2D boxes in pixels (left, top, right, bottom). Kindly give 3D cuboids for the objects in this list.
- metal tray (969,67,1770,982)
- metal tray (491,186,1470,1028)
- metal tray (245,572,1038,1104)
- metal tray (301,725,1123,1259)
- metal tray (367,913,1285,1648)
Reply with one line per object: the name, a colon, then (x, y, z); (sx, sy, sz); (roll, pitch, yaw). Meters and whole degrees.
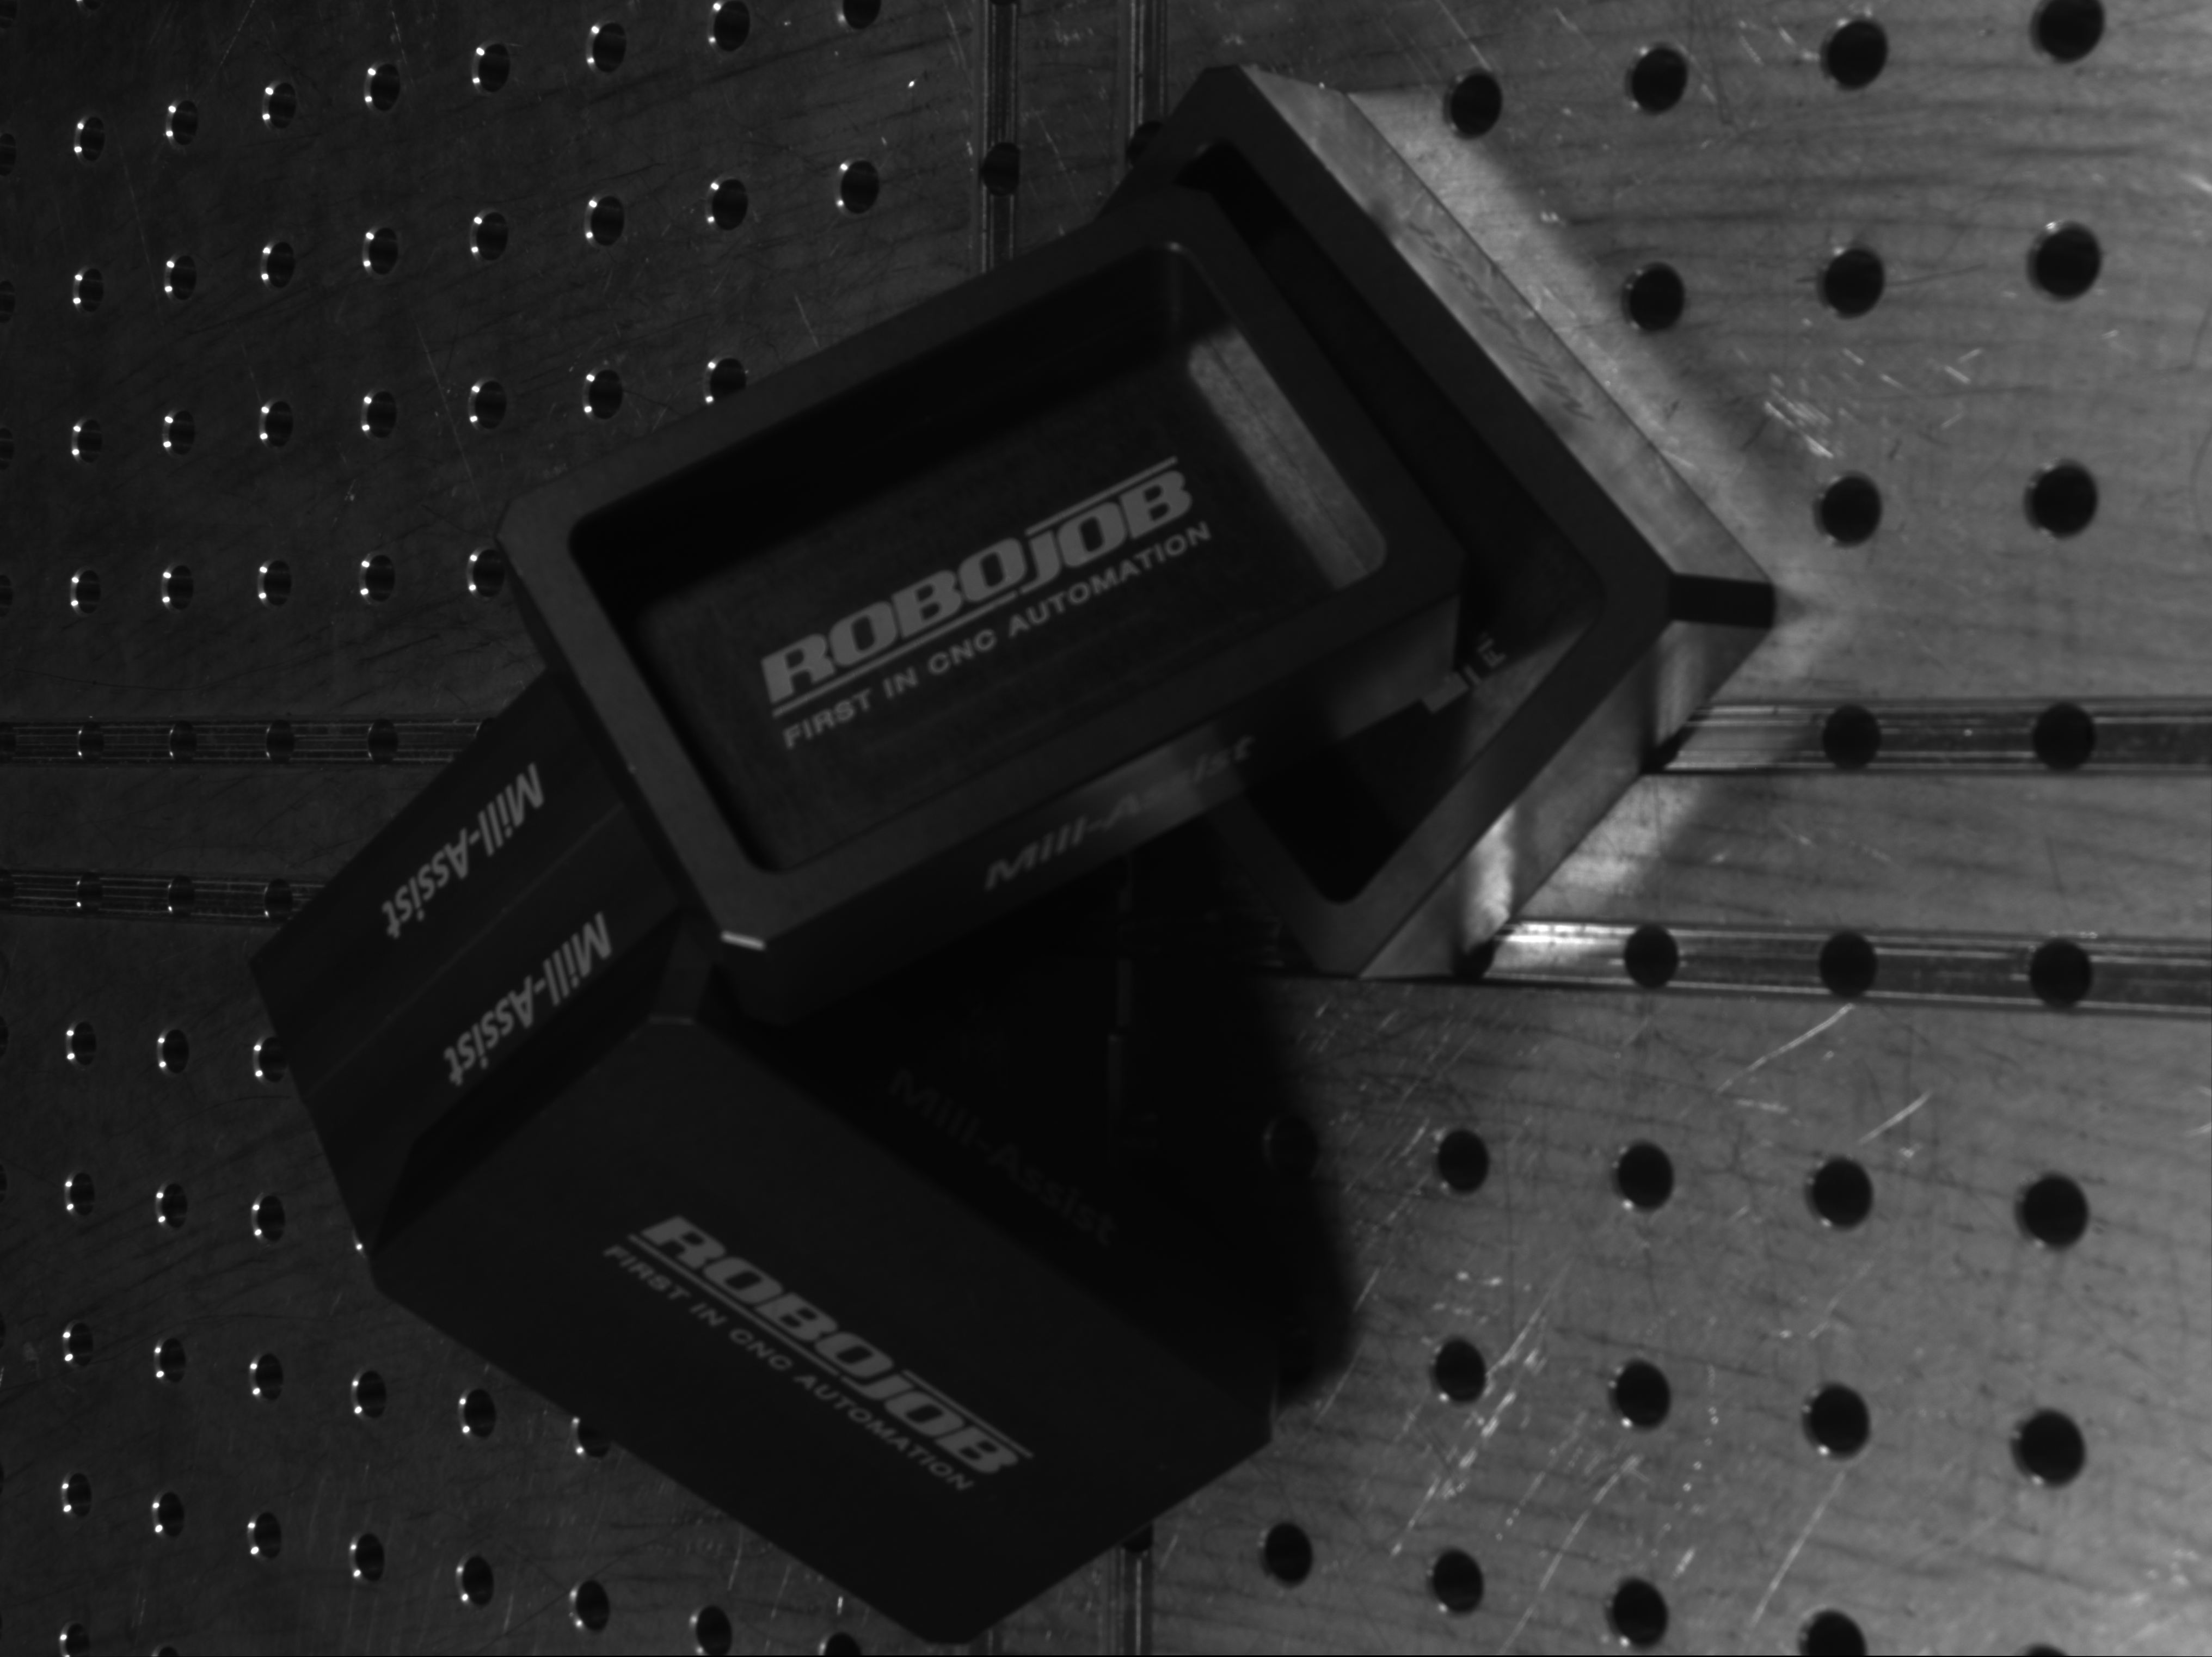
metal tray: (0.037, -0.050, 0.604); (0.090, 0.030, 0.130); (-51, 60, 27)
metal tray: (-0.019, -0.037, 0.582); (0.130, 0.030, 0.090); (-27, 66, -11)
metal tray: (-0.083, 0.004, 0.665); (0.130, 0.090, 0.030); (-40, 66, 32)
metal tray: (-0.071, 0.030, 0.653); (0.130, 0.090, 0.030); (-40, 66, 32)
metal tray: (-0.045, 0.079, 0.616); (0.090, 0.130, 0.030); (-39, 25, 32)
